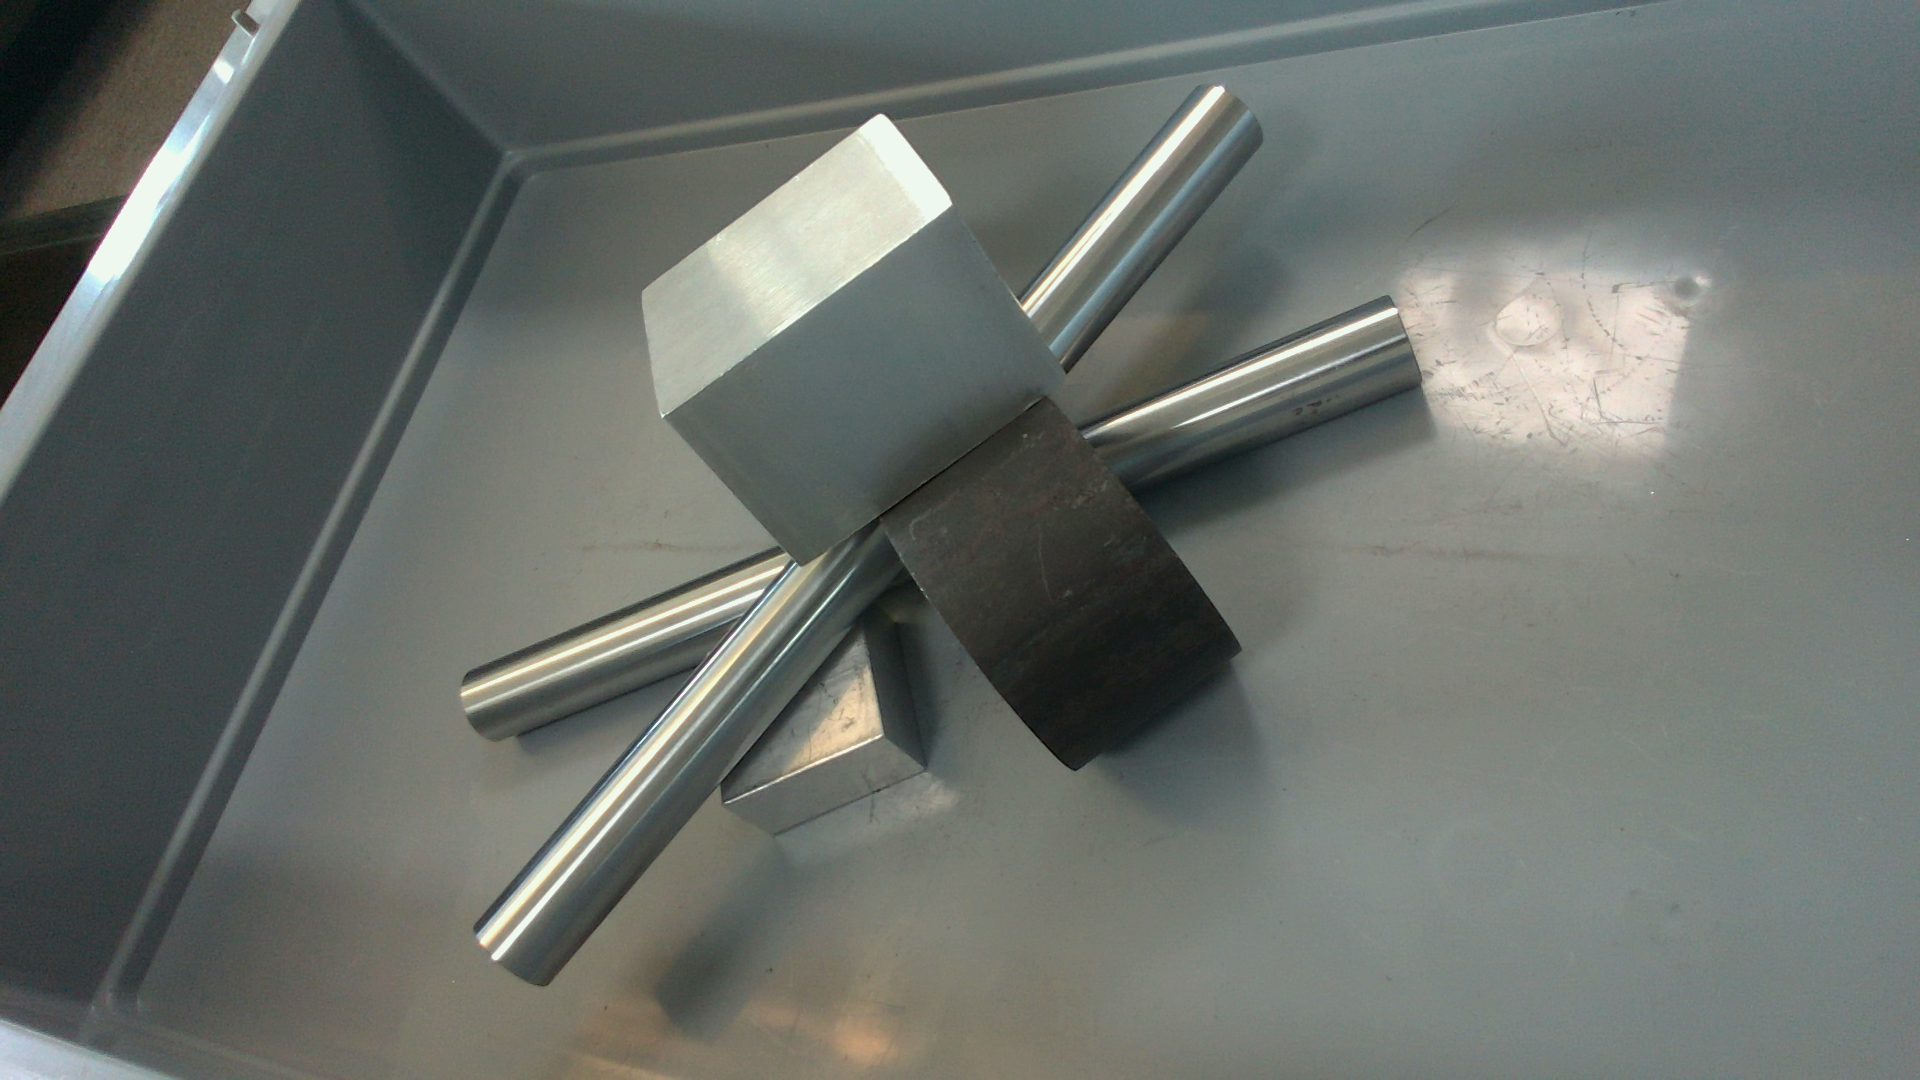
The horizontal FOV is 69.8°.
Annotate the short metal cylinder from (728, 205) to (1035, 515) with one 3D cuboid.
[{"bbox_3d":[-0.024,-0.055,0.423,0.080,0.050,0.080,-13,56,21],"label":"short metal cylinder"}]

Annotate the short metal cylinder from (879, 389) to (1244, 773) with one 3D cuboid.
[{"bbox_3d":[0.025,0.010,0.338,0.050,0.080,0.080,-38,51,4],"label":"short metal cylinder"}]

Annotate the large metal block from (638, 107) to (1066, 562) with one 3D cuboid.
[{"bbox_3d":[-0.031,-0.054,0.344,0.080,0.050,0.080,-35,33,6],"label":"large metal block"}]

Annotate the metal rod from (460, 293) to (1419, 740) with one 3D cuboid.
[{"bbox_3d":[-0.018,-0.001,0.402,0.299,0.025,0.025,-22,53,15],"label":"metal rod"}]

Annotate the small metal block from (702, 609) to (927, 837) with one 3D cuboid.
[{"bbox_3d":[-0.042,0.048,0.385,0.050,0.025,0.050,-25,52,13],"label":"small metal block"}]

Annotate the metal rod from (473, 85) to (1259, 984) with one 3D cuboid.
[{"bbox_3d":[-0.020,-0.007,0.376,0.025,0.025,0.300,34,81,39],"label":"metal rod"}]
